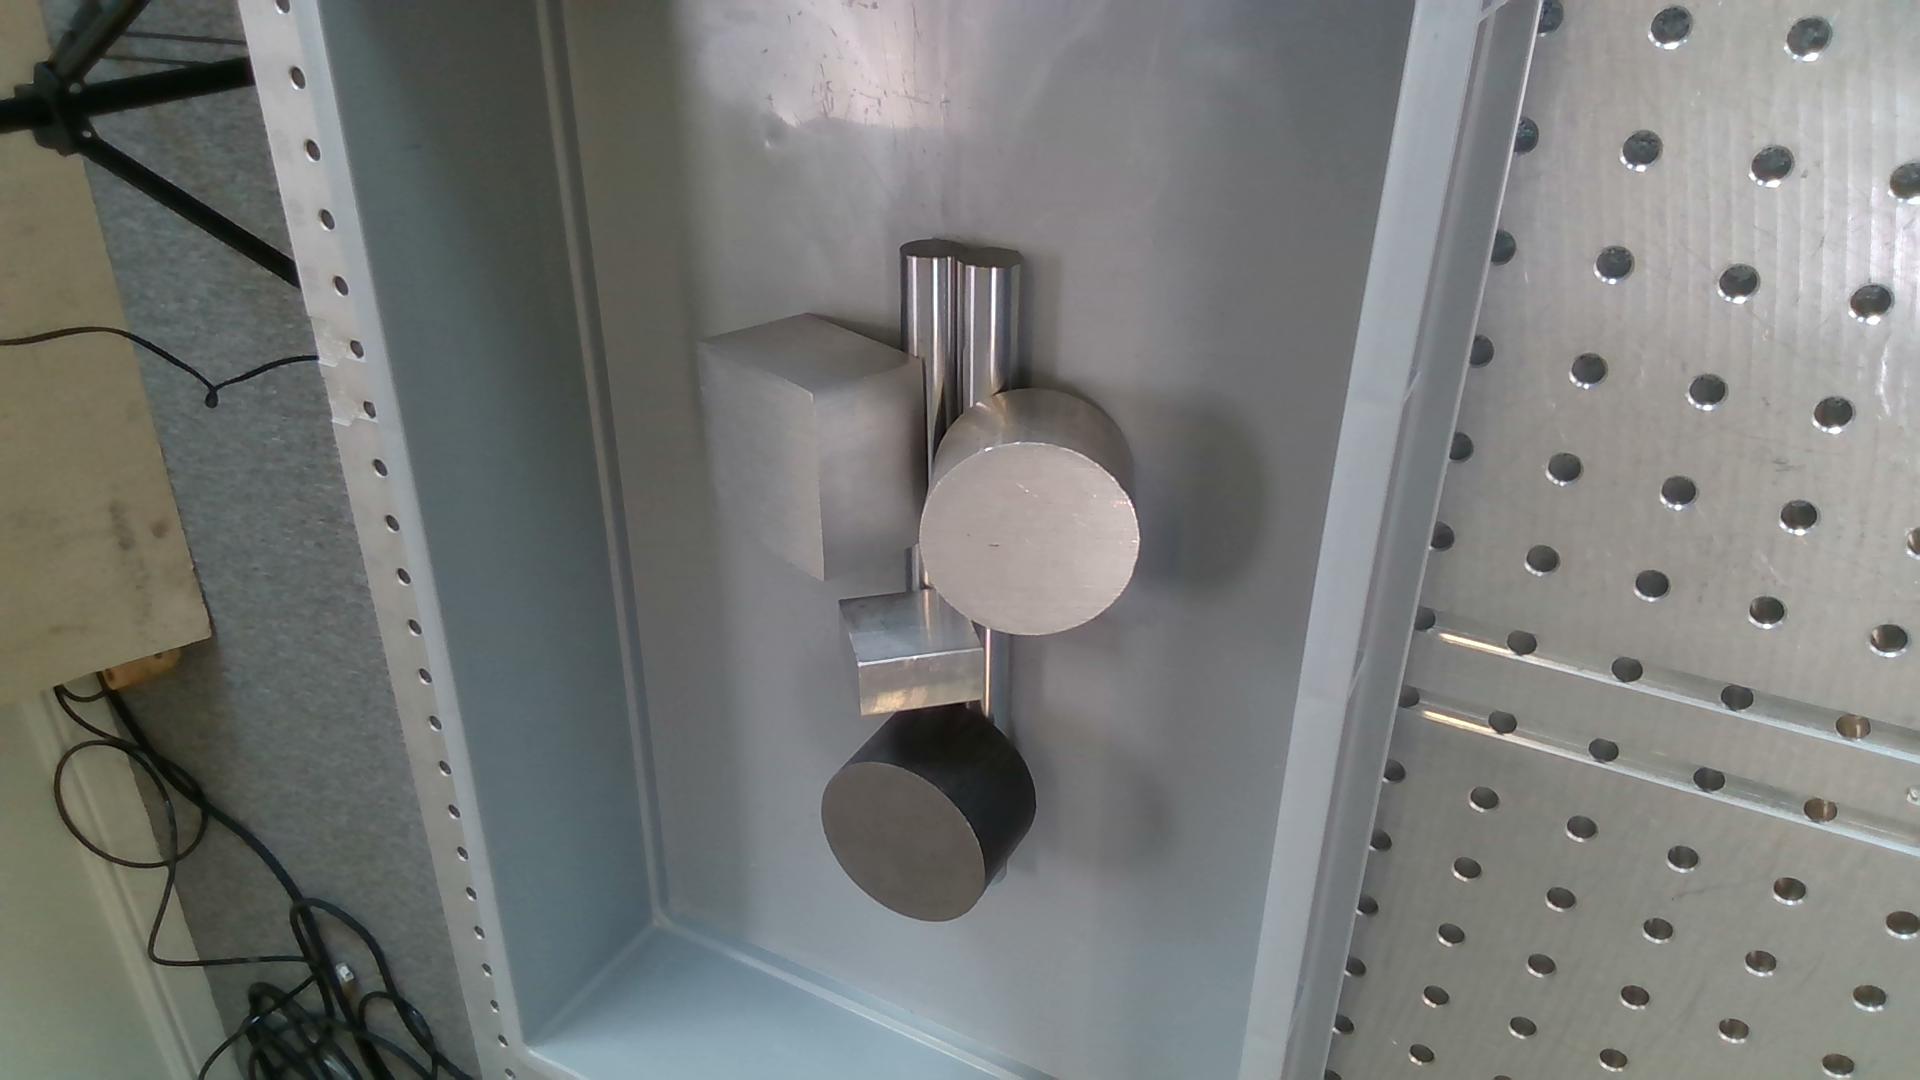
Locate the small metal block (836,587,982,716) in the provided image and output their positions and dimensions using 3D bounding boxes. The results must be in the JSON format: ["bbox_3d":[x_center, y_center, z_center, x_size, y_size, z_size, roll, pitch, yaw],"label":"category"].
[{"bbox_3d":[-0.021,0.044,0.564,0.050,0.050,0.025,-7,120,-12],"label":"small metal block"}]

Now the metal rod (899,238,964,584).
[{"bbox_3d":[-0.012,0.020,0.597,0.025,0.025,0.301,15,122,24],"label":"metal rod"}]

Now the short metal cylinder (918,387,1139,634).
[{"bbox_3d":[0.027,-0.011,0.522,0.080,0.050,0.080,2,119,4],"label":"short metal cylinder"}]

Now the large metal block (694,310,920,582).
[{"bbox_3d":[-0.061,-0.040,0.560,0.080,0.050,0.080,27,129,42],"label":"large metal block"}]

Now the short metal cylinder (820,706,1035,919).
[{"bbox_3d":[-0.014,0.118,0.604,0.080,0.050,0.080,14,122,25],"label":"short metal cylinder"}]

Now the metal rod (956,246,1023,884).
[{"bbox_3d":[0.010,0.026,0.587,0.025,0.025,0.301,15,122,24],"label":"metal rod"}]
